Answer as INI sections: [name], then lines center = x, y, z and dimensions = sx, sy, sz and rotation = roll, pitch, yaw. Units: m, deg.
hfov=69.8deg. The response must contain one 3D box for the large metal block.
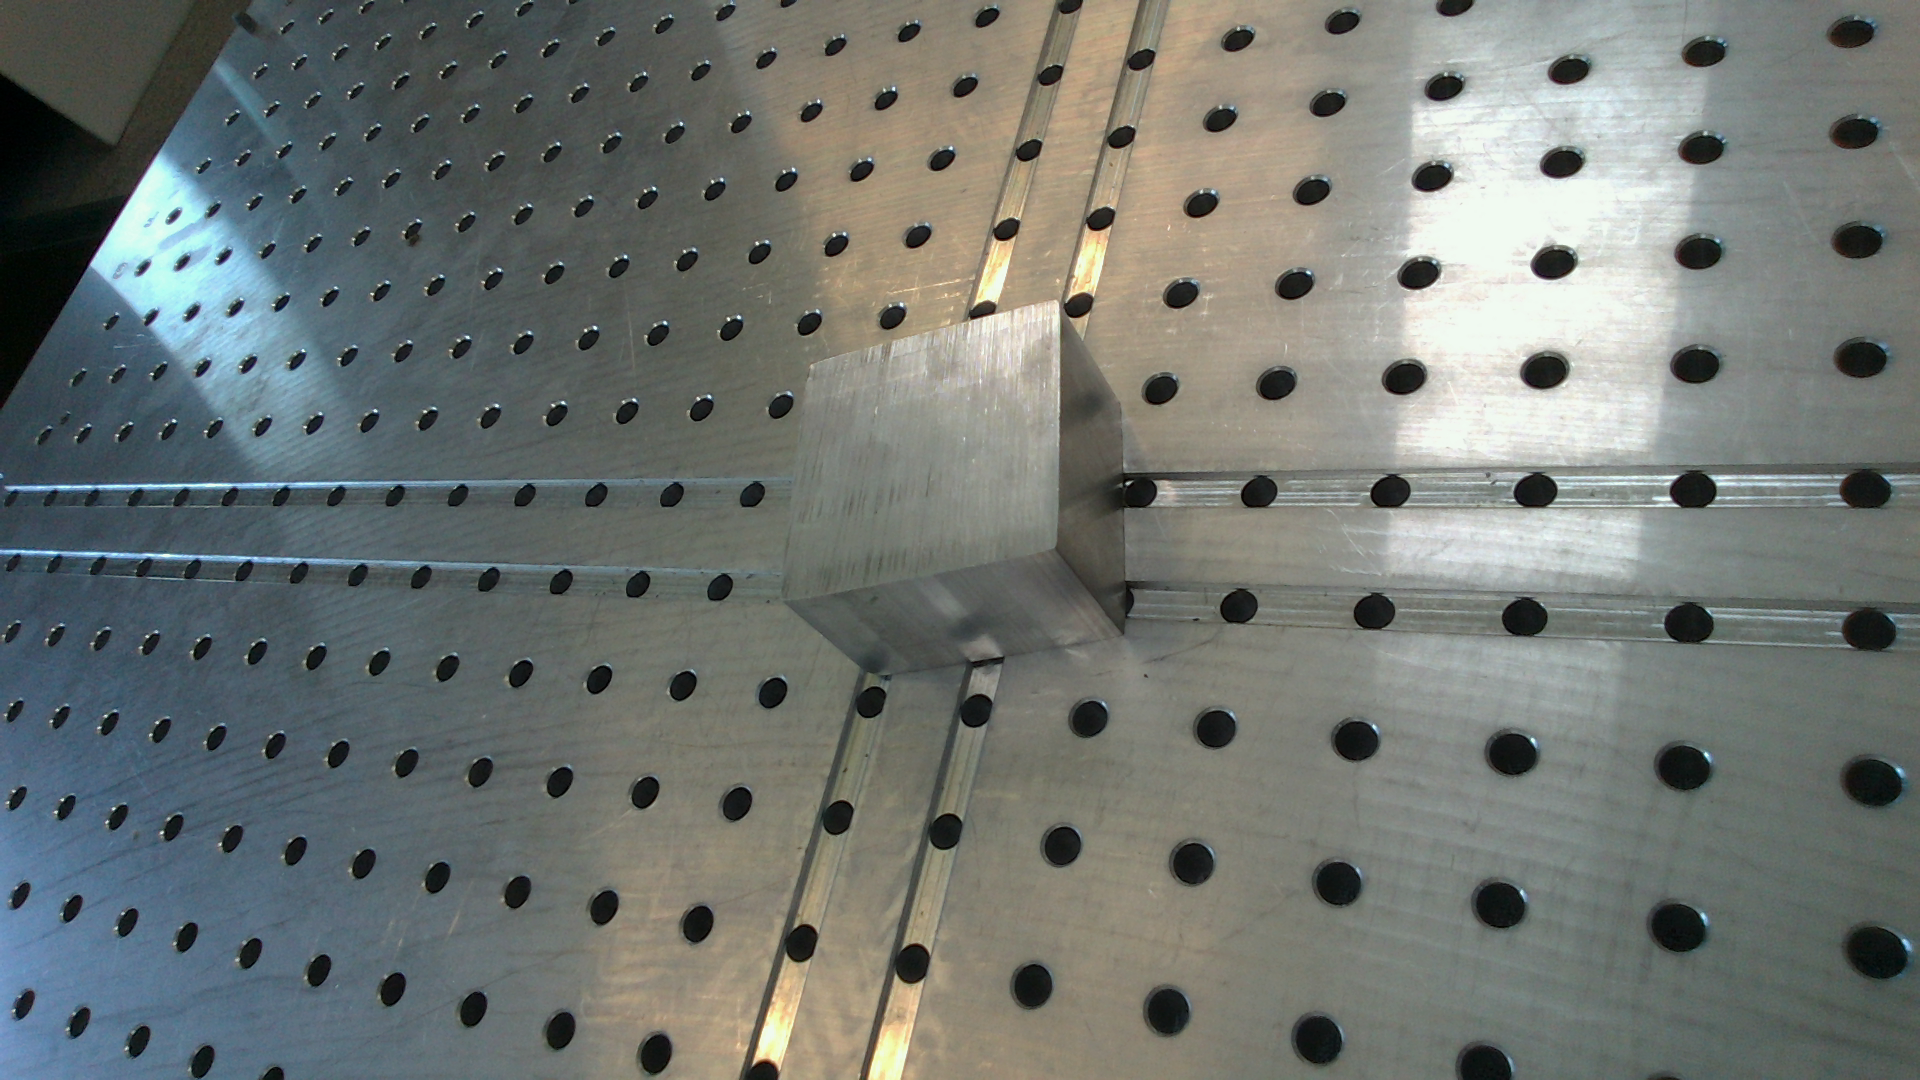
[large metal block]
center = -0.001, -0.013, 0.388
dimensions = 0.080, 0.050, 0.080
rotation = -12, 57, 22
